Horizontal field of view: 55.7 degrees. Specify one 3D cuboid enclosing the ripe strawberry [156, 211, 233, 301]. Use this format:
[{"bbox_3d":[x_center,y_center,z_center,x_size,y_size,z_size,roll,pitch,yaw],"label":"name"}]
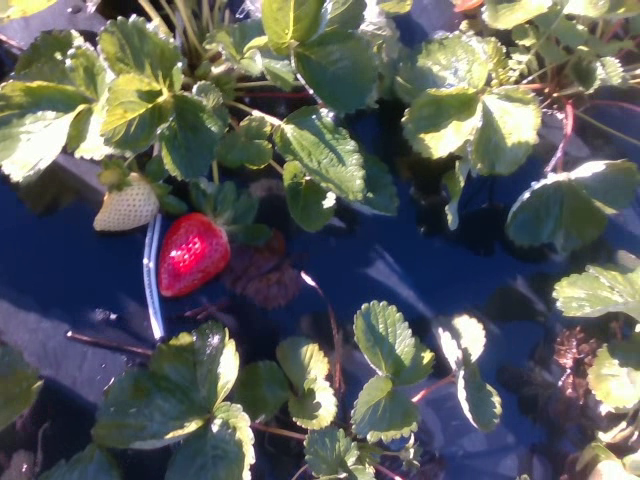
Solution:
[{"bbox_3d":[-0.086,0.011,0.431,0.040,0.080,0.063,0,-43,39],"label":"ripe strawberry"}]
